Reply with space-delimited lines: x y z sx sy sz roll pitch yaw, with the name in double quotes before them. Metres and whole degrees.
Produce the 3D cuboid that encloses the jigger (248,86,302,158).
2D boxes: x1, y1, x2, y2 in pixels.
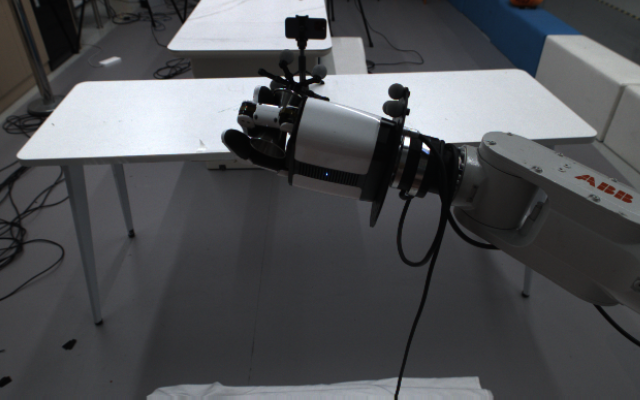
"jigger" -0.049 -0.090 0.548 0.043 0.043 0.071 15 70 17
